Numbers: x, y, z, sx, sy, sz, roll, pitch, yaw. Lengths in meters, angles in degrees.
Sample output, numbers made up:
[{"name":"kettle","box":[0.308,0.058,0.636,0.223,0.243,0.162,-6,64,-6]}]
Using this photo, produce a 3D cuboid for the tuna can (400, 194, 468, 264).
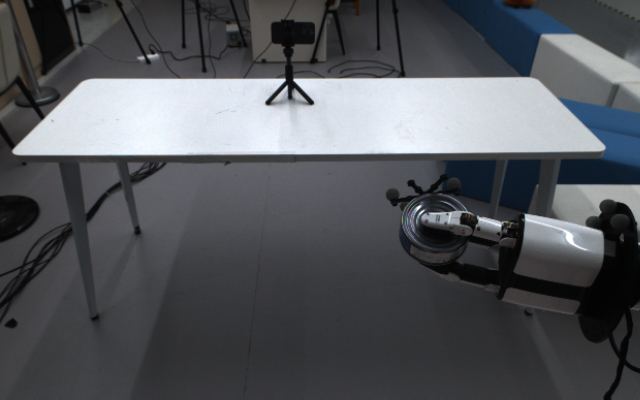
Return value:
[{"name":"tuna can","box":[0.144,0.034,0.595,0.085,0.034,0.085,-3,60,5]}]
